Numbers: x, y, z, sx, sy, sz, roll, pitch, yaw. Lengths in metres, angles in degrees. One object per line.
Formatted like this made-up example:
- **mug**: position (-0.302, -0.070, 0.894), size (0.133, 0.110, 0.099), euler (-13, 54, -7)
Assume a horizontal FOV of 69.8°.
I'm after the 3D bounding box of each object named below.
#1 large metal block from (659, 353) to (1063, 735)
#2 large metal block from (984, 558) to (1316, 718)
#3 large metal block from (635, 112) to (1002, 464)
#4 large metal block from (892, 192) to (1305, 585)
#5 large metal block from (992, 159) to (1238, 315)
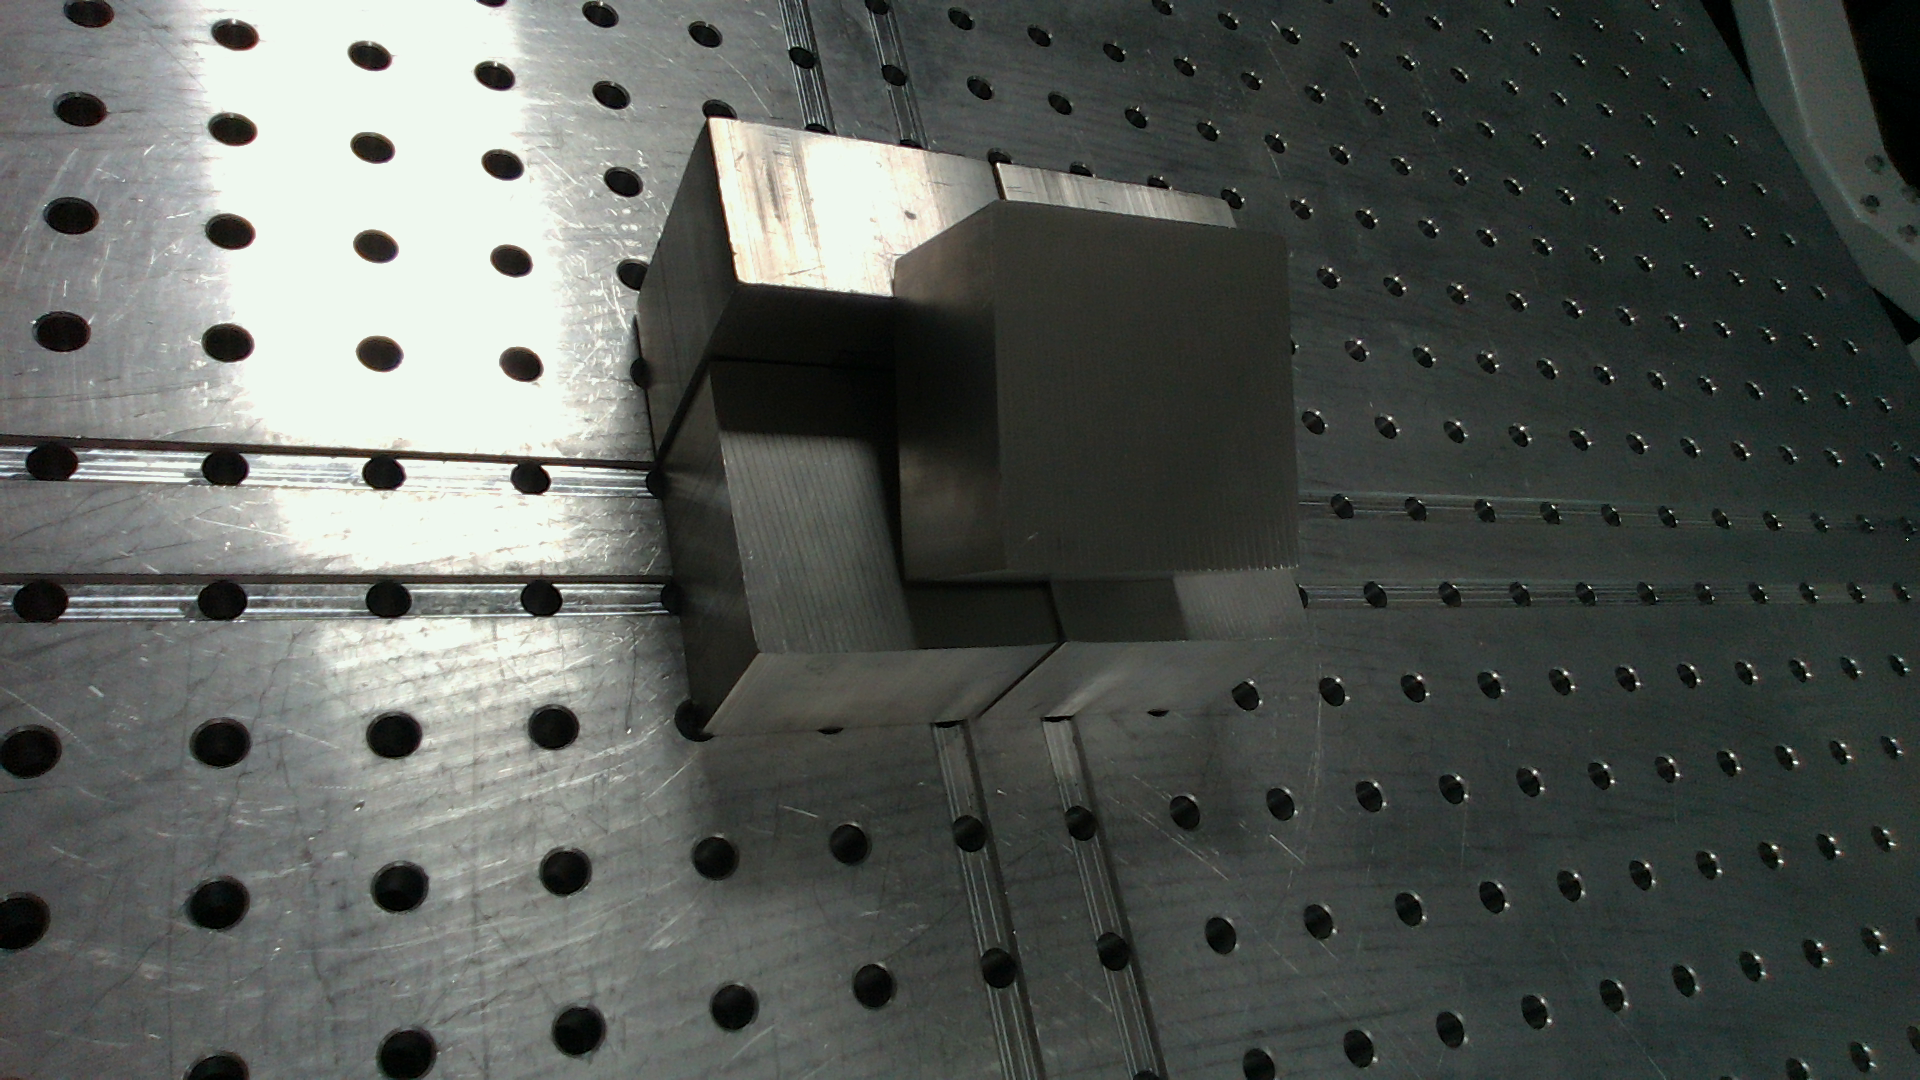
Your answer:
- **large metal block**: position (-0.029, 0.002, 0.358), size (0.080, 0.050, 0.080), euler (1, 61, -28)
- **large metal block**: position (0.044, 0.003, 0.395), size (0.080, 0.050, 0.080), euler (1, 61, -28)
- **large metal block**: position (-0.038, -0.063, 0.374), size (0.080, 0.080, 0.050), euler (1, 61, -28)
- **large metal block**: position (0.032, -0.031, 0.327), size (0.080, 0.050, 0.080), euler (0, 85, -28)
- **large metal block**: position (0.034, -0.062, 0.412), size (0.080, 0.080, 0.050), euler (1, 61, -28)
